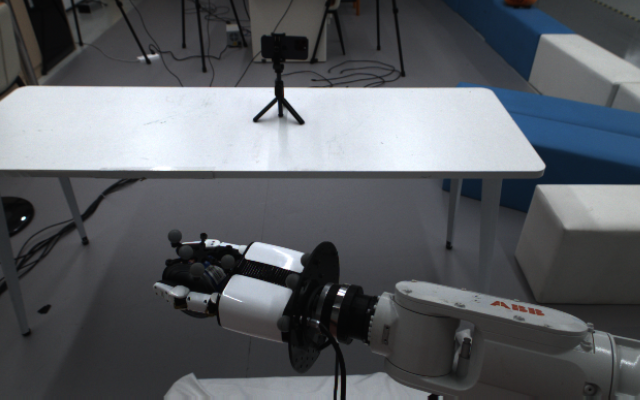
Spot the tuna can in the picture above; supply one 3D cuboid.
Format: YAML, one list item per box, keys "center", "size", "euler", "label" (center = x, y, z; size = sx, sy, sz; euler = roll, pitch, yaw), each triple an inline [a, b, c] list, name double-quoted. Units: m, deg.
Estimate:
- center: [-0.158, 0.110, 0.632]
  size: [0.085, 0.085, 0.034]
  euler: [16, 29, 19]
  label: "tuna can"
